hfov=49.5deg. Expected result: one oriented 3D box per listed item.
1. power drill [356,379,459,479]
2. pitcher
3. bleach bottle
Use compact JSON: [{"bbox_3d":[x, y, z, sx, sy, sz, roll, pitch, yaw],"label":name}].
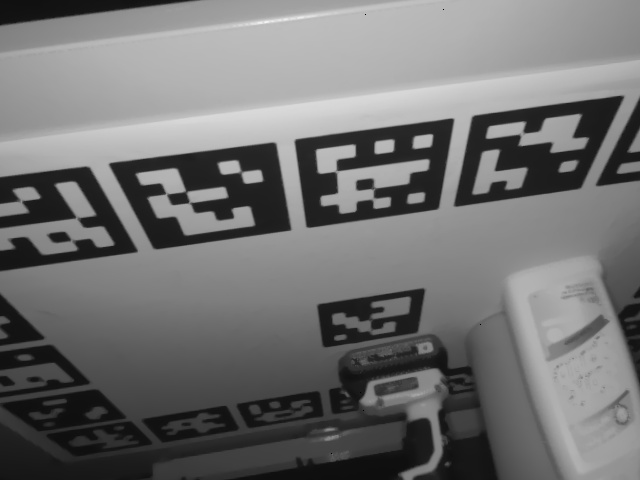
[{"bbox_3d":[0.082,0.239,0.696,0.184,0.188,0.057,-6,140,4],"label":"power drill"},{"bbox_3d":[0.249,0.213,0.689,0.187,0.244,0.134,-24,139,17],"label":"pitcher"},{"bbox_3d":[0.259,0.167,0.598,0.102,0.252,0.067,-12,142,2],"label":"bleach bottle"}]
